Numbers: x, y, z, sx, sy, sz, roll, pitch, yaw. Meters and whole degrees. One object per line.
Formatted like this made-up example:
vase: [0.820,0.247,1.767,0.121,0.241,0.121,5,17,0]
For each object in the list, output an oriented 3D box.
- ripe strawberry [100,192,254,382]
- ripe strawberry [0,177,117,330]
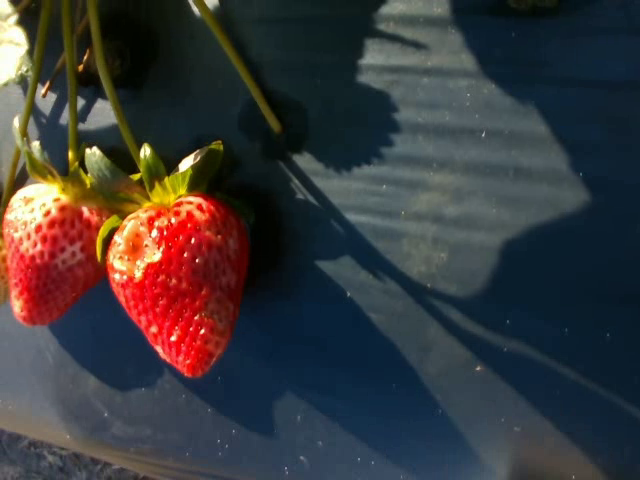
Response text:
ripe strawberry: [-0.042,0.016,0.181,0.051,0.067,0.056,0,-24,-39]
ripe strawberry: [-0.093,0.005,0.197,0.050,0.061,0.044,23,6,-8]
